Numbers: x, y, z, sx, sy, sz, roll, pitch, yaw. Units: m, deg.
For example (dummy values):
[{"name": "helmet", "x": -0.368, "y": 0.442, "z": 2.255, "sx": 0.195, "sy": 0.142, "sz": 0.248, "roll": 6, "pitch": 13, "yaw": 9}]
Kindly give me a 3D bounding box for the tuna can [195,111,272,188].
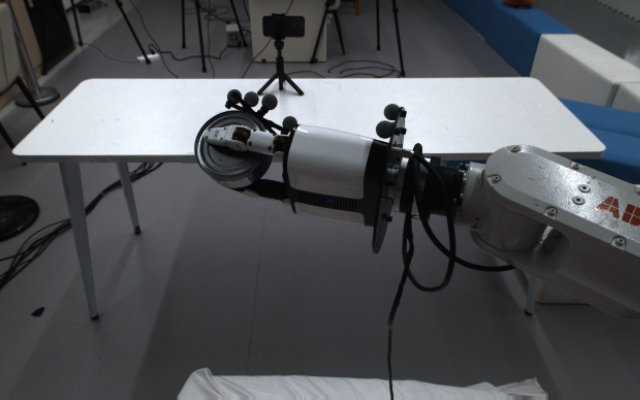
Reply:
[{"name": "tuna can", "x": -0.098, "y": -0.058, "z": 0.563, "sx": 0.085, "sy": 0.034, "sz": 0.085, "roll": -2, "pitch": 71, "yaw": 6}]
